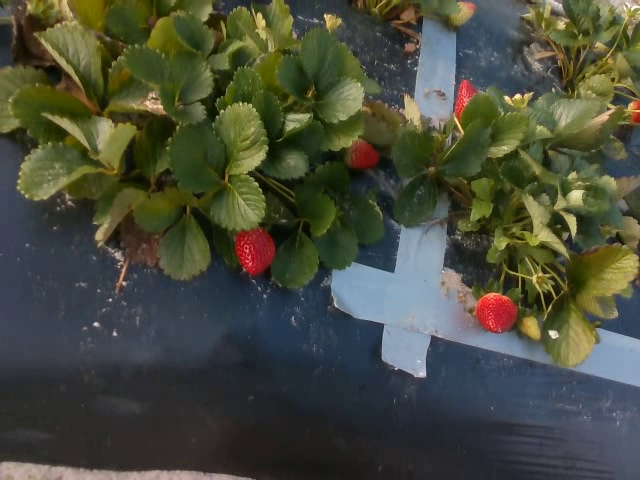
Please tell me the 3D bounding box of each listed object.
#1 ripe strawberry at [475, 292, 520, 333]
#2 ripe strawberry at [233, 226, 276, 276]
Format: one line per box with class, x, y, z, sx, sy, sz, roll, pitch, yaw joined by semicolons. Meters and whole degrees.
ripe strawberry;0.083;0.035;0.277;0.023;0.021;0.026;18;36;9
ripe strawberry;-0.026;0.005;0.239;0.018;0.023;0.021;3;-37;-1
